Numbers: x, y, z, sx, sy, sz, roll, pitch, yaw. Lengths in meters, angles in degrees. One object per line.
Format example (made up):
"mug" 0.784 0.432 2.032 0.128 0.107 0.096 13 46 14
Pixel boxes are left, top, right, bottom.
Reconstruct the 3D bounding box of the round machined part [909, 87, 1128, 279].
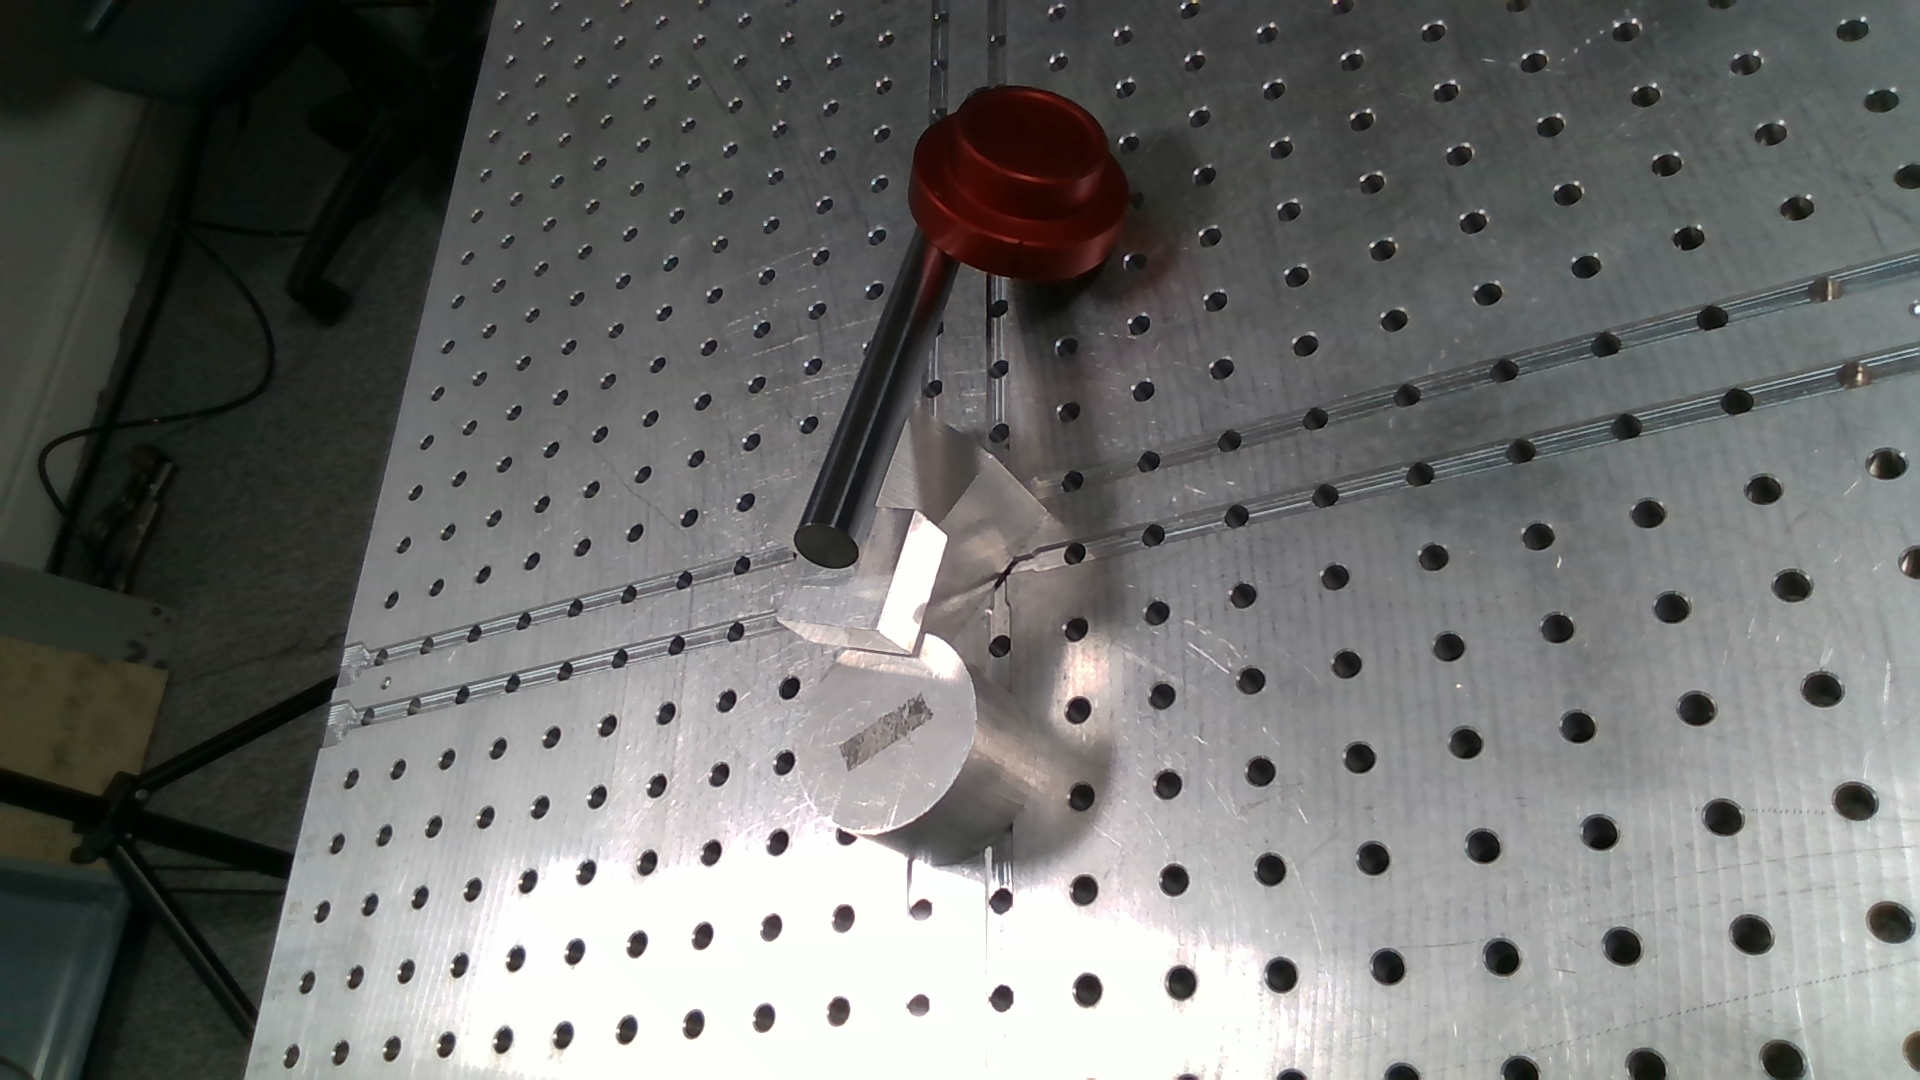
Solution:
"round machined part" 0.028 -0.164 0.613 0.098 0.042 0.098 6 50 -8

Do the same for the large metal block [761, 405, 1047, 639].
"large metal block" -0.024 -0.009 0.589 0.080 0.050 0.080 35 86 39

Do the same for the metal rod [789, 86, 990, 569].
"metal rod" -0.018 -0.108 0.601 0.025 0.025 0.299 -9 44 28

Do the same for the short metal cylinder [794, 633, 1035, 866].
"short metal cylinder" -0.018 0.082 0.540 0.080 0.050 0.080 -14 59 25

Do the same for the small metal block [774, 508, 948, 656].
"small metal block" -0.038 0.015 0.537 0.050 0.025 0.050 5 68 33
